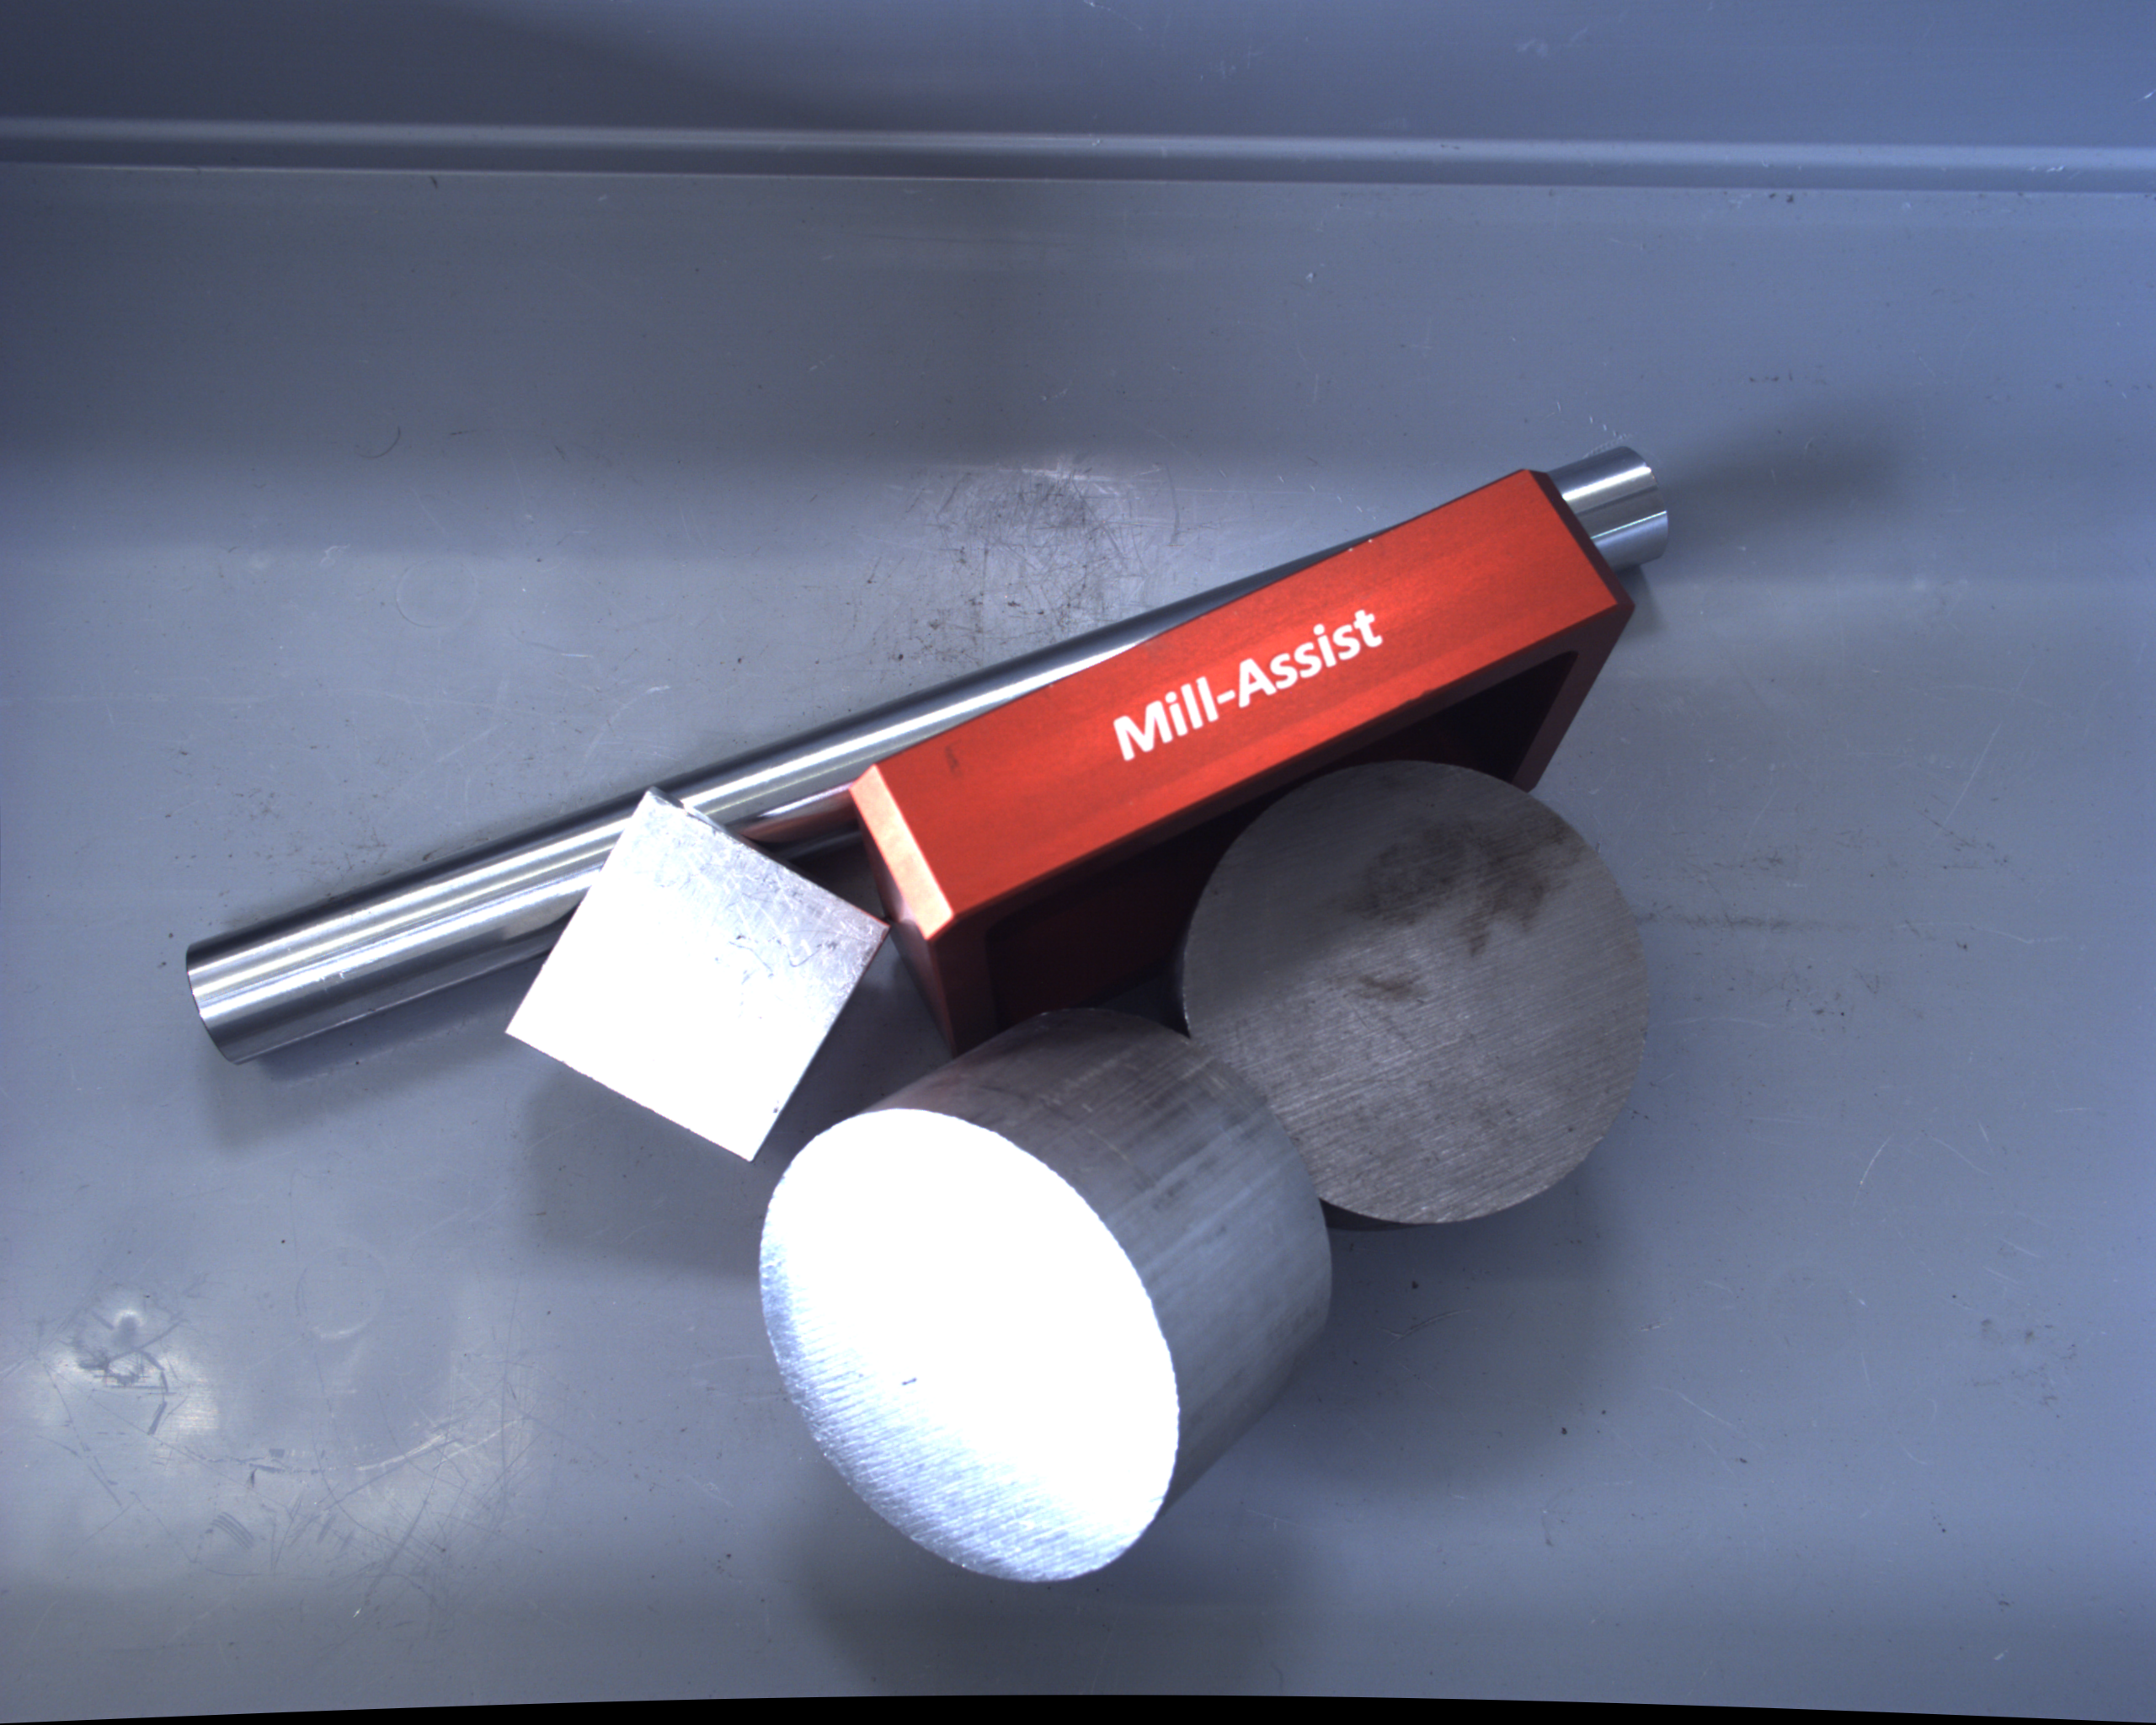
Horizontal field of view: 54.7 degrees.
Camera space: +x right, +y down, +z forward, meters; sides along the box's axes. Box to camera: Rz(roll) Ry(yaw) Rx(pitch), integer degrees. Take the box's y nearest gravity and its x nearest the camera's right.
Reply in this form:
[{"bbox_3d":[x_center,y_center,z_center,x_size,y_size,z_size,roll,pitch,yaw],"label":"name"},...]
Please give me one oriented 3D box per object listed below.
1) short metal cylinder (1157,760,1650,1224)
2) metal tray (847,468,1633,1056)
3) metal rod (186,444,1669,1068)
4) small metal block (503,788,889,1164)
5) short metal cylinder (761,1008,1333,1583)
[{"bbox_3d":[0.056,0.026,0.380,0.081,0.050,0.080,1,78,-4],"label":"short metal cylinder"},{"bbox_3d":[0.028,-0.014,0.379,0.131,0.090,0.030,-25,72,-9],"label":"metal tray"},{"bbox_3d":[-0.023,-0.024,0.416,0.302,0.025,0.025,-20,72,-8],"label":"metal rod"},{"bbox_3d":[-0.070,0.020,0.386,0.050,0.025,0.050,30,88,-9],"label":"small metal block"},{"bbox_3d":[-0.005,0.070,0.346,0.080,0.080,0.050,45,35,14],"label":"short metal cylinder"}]
